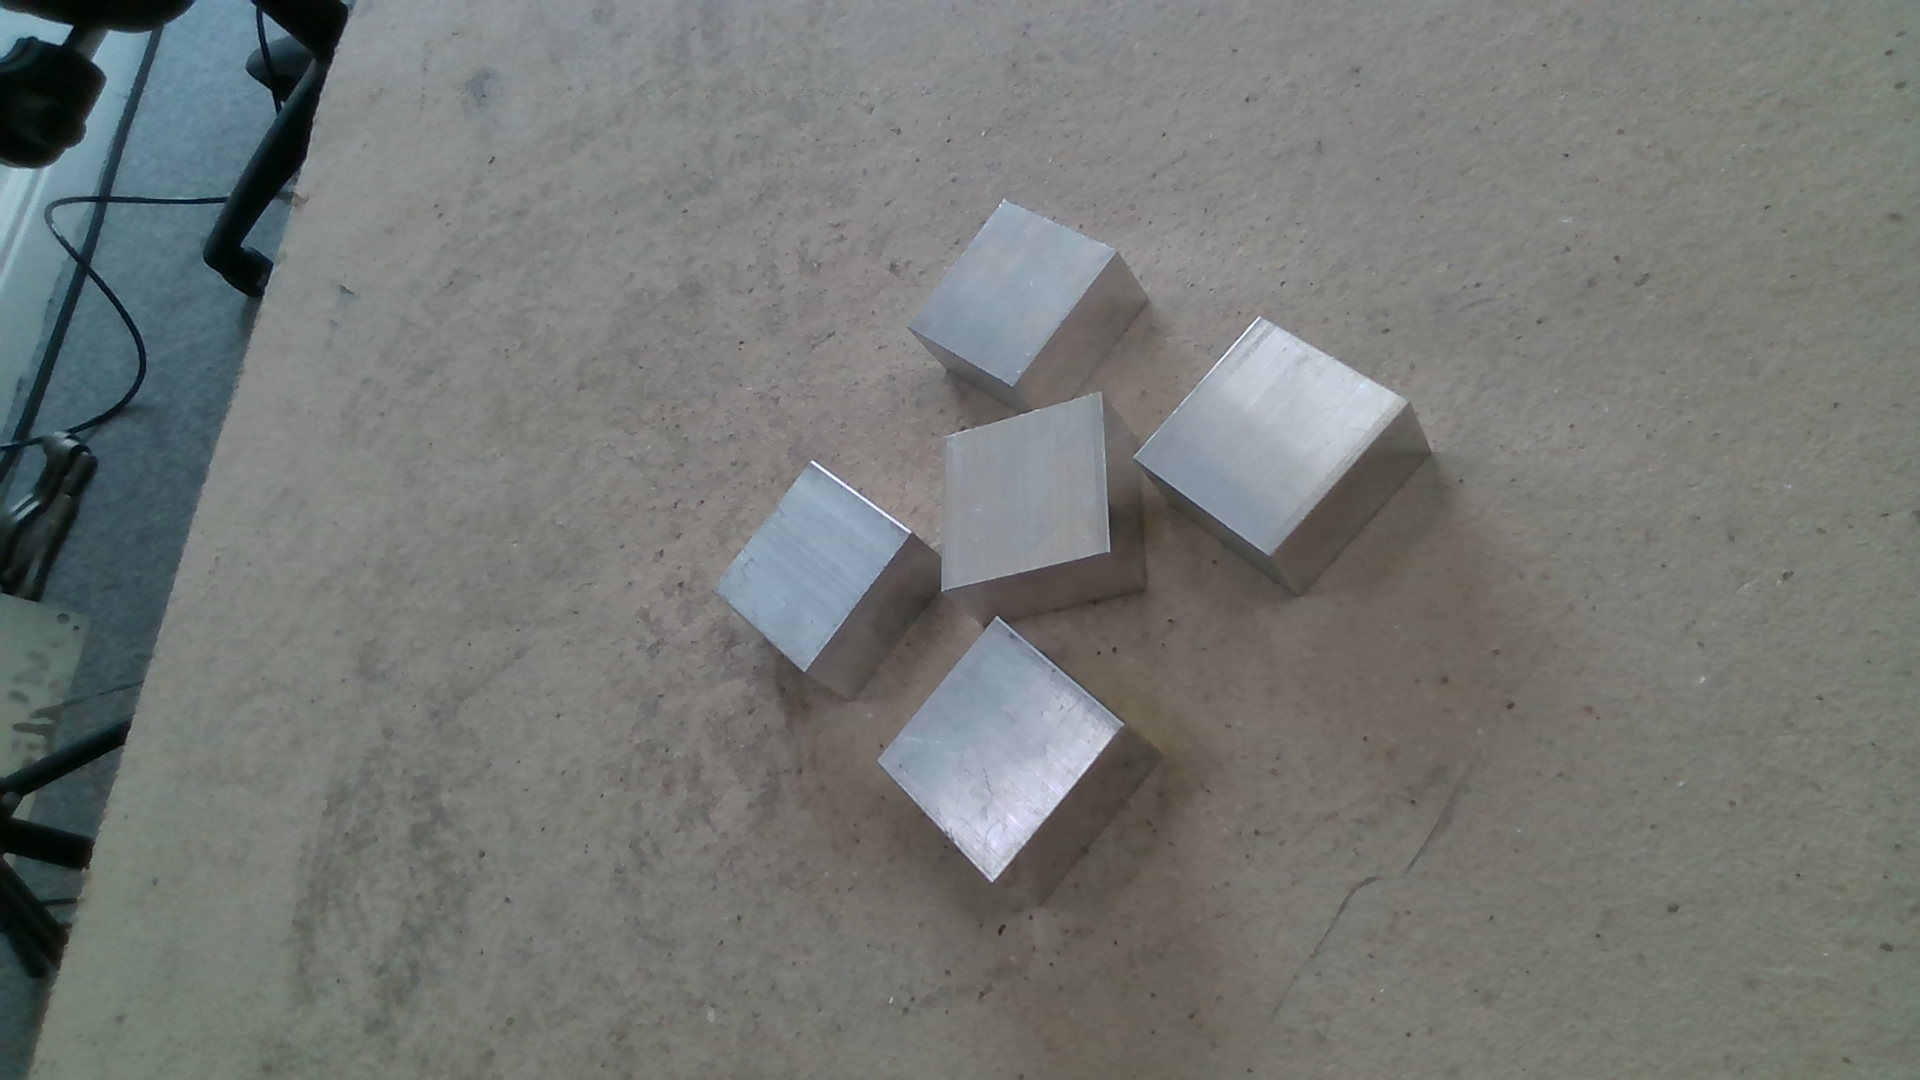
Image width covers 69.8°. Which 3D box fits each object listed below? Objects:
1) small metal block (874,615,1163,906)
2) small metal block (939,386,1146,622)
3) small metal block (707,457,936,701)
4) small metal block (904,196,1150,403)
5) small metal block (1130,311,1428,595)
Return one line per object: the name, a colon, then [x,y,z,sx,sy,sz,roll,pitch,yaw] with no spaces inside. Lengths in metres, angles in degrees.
small metal block: [0.014,0.056,0.355,0.050,0.025,0.050,-50,51,-1]
small metal block: [0.022,-0.009,0.383,0.050,0.025,0.050,-14,59,25]
small metal block: [-0.039,0.011,0.411,0.050,0.025,0.050,35,87,38]
small metal block: [0.020,-0.070,0.418,0.050,0.025,0.050,35,86,38]
small metal block: [0.081,-0.023,0.354,0.050,0.025,0.050,-48,51,0]
